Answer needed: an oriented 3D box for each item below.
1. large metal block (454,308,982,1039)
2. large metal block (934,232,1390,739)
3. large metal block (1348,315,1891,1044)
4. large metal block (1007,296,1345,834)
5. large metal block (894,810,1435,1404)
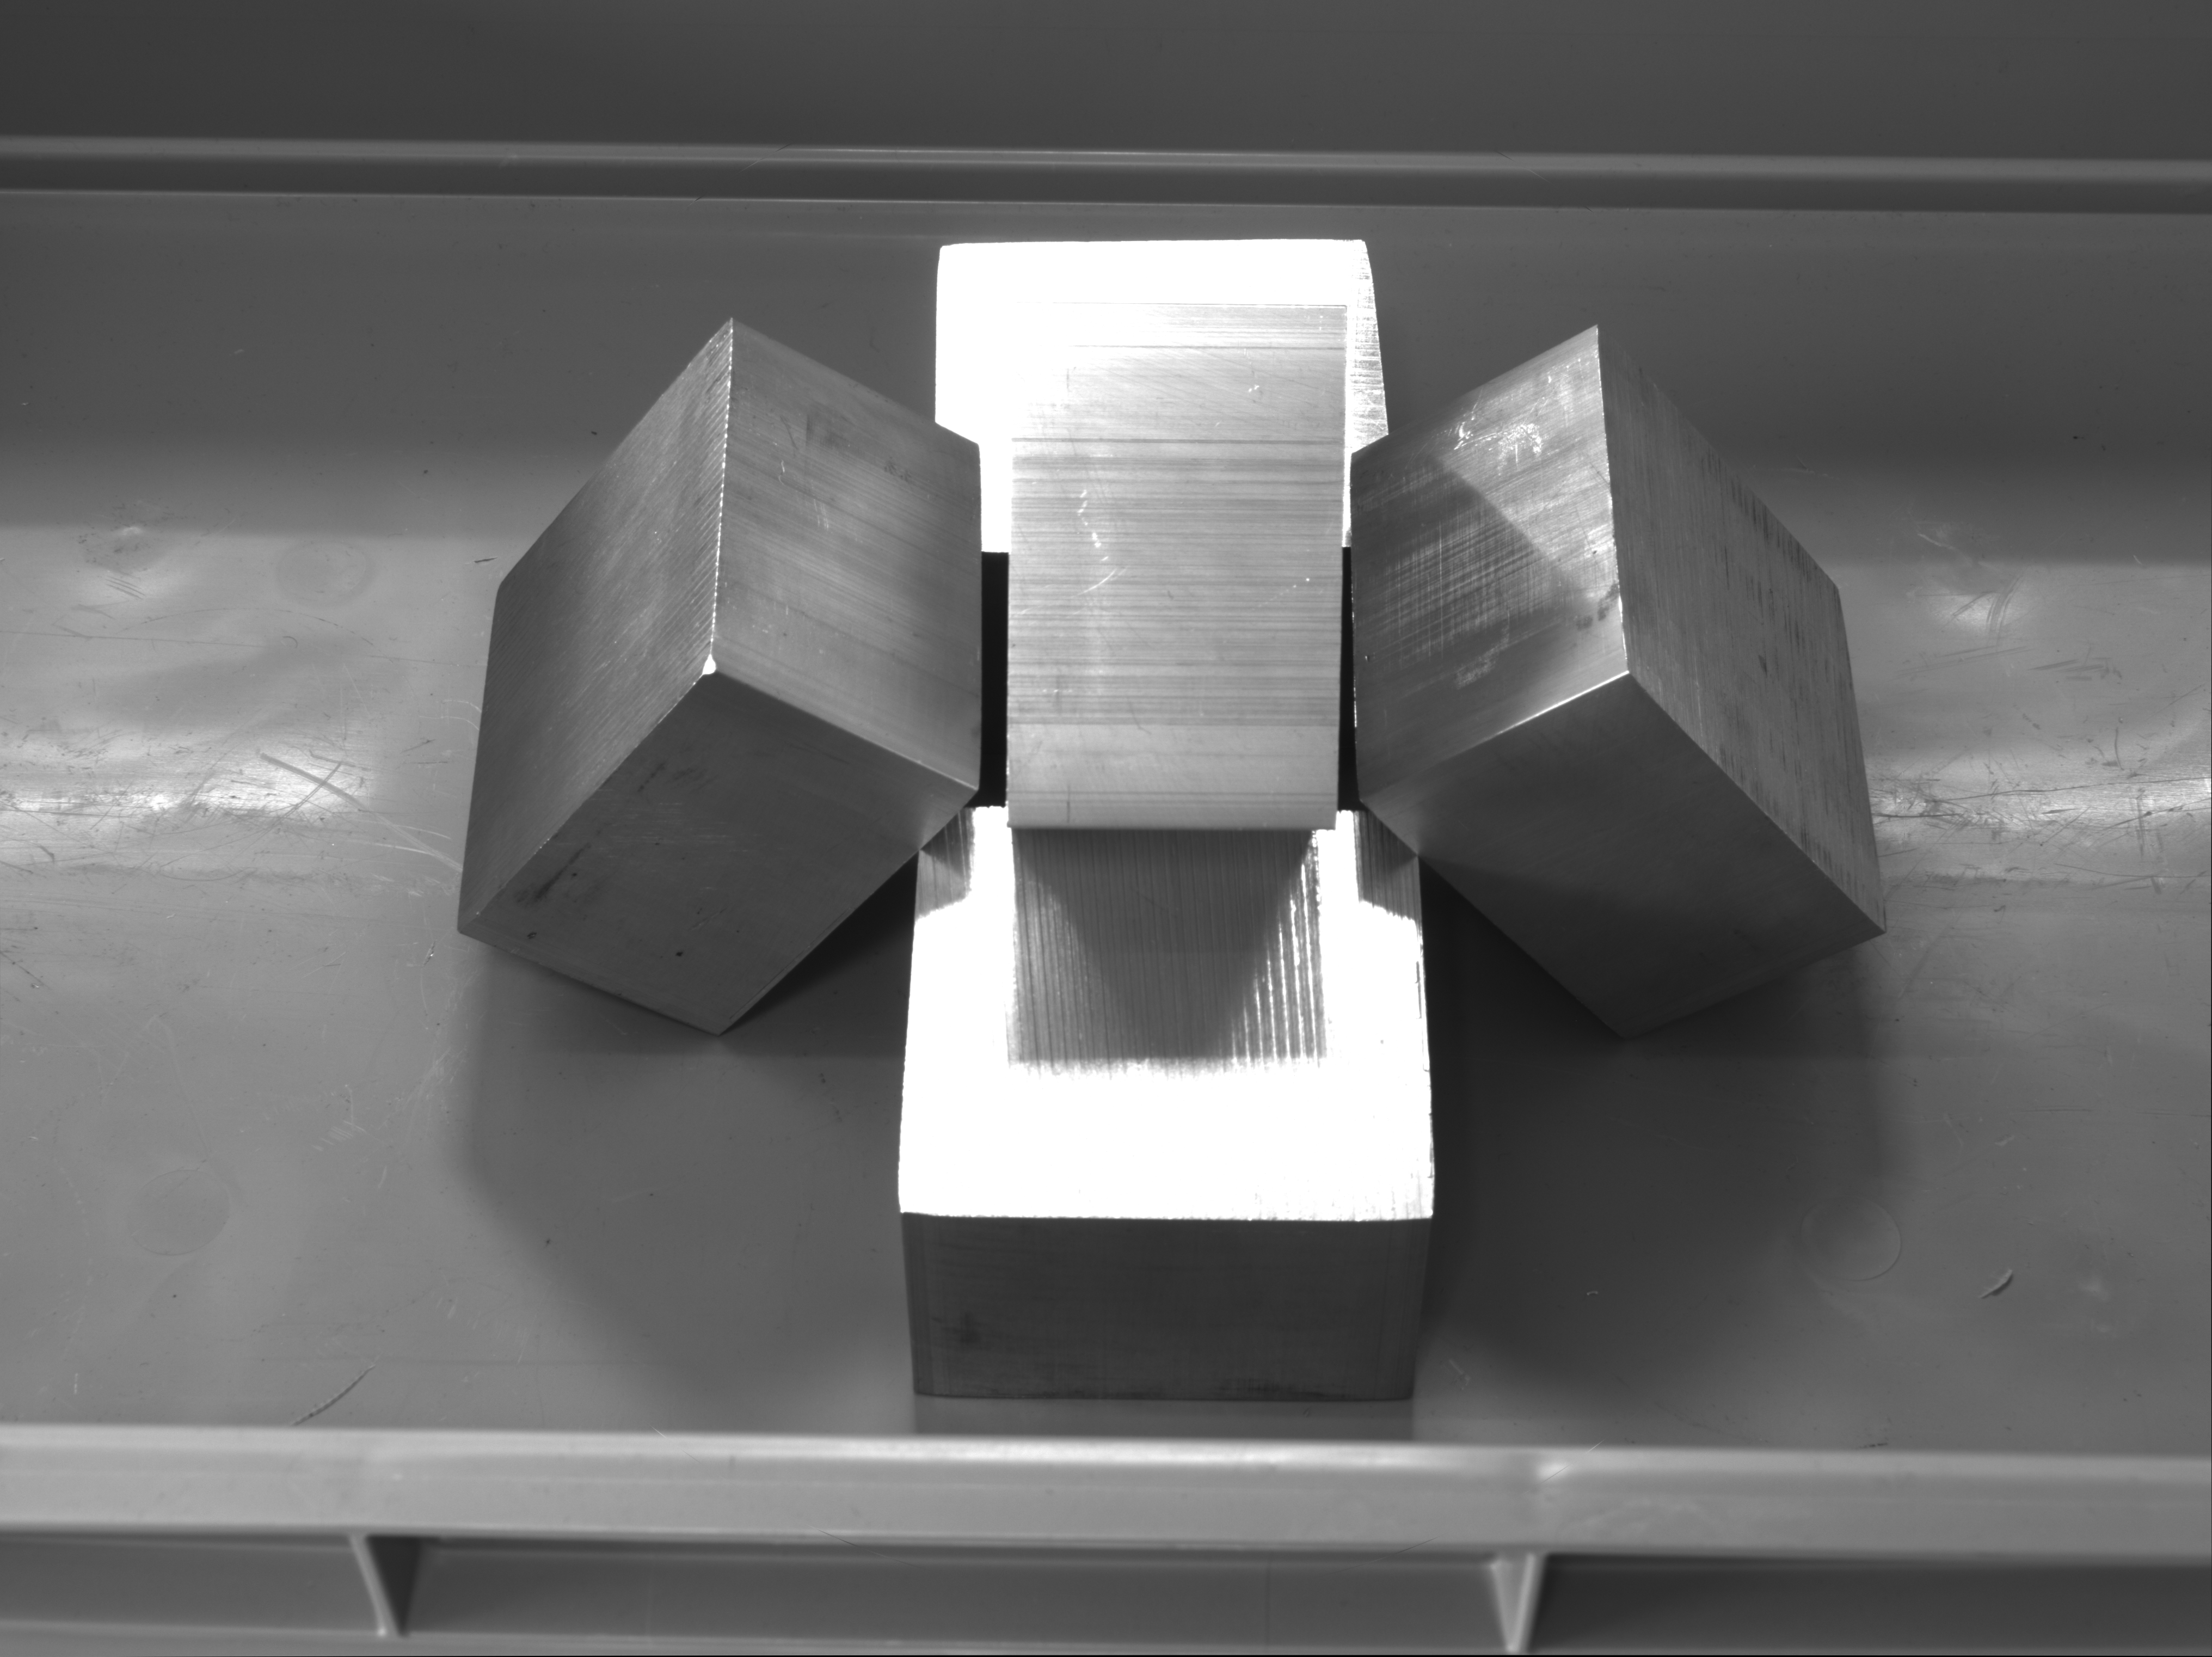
[{"bbox_3d":[-0.064,-0.025,0.616,0.050,0.080,0.080,24,44,-28],"label":"large metal block"},{"bbox_3d":[0.009,-0.063,0.675,0.080,0.050,0.080,-1,50,-1],"label":"large metal block"},{"bbox_3d":[0.085,-0.024,0.616,0.050,0.080,0.080,-27,43,30],"label":"large metal block"},{"bbox_3d":[0.010,-0.043,0.589,0.050,0.080,0.080,0,6,-1],"label":"large metal block"},{"bbox_3d":[0.010,0.044,0.587,0.080,0.050,0.080,1,50,1],"label":"large metal block"}]
